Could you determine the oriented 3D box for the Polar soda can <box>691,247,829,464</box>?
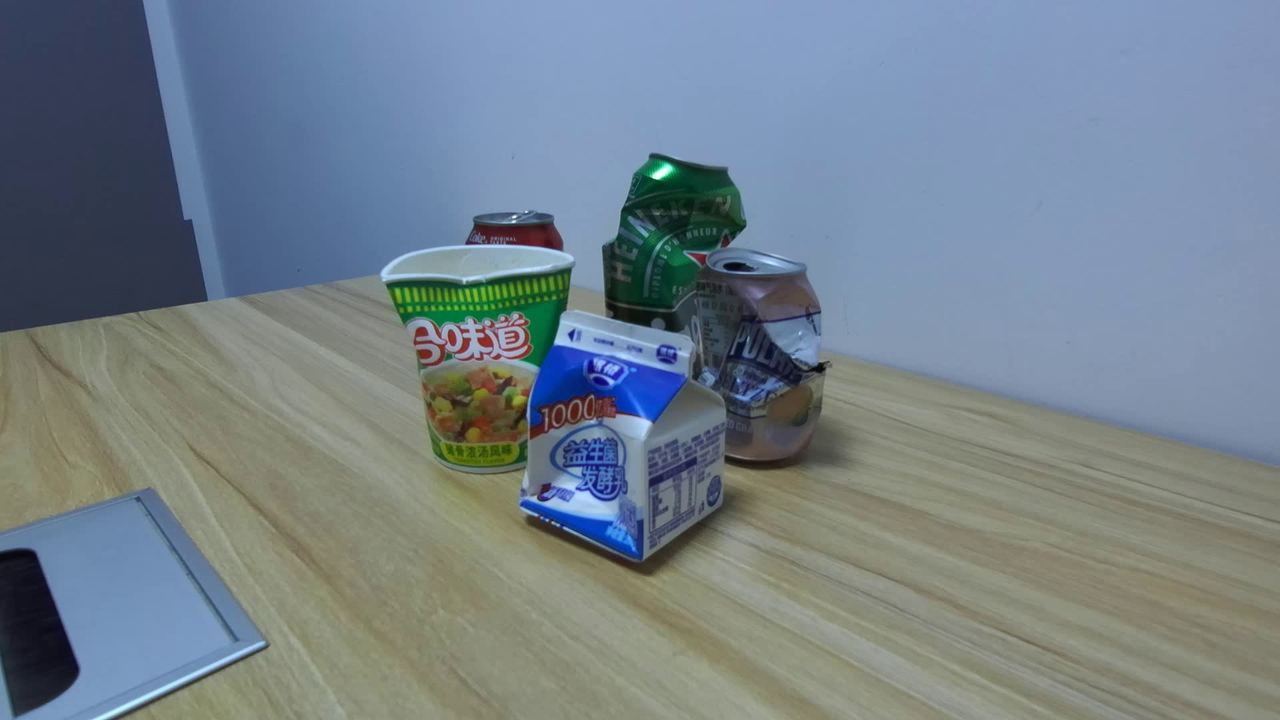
[{"bbox_3d":[0.065,-0.001,0.392,0.074,0.114,0.070,2,26,15],"label":"Polar soda can"}]

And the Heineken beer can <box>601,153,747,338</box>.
[{"bbox_3d":[0.018,-0.054,0.477,0.079,0.159,0.067,-11,25,-43],"label":"Heineken beer can"}]

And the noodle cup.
[{"bbox_3d":[-0.084,-0.003,0.398,0.094,0.109,0.087,1,19,3],"label":"noodle cup"}]

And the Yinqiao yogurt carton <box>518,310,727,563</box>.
[{"bbox_3d":[-0.006,0.028,0.328,0.077,0.094,0.071,13,17,32],"label":"Yinqiao yogurt carton"}]

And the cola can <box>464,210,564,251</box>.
[{"bbox_3d":[-0.089,-0.046,0.505,0.068,0.120,0.068,0,20,0],"label":"cola can"}]
